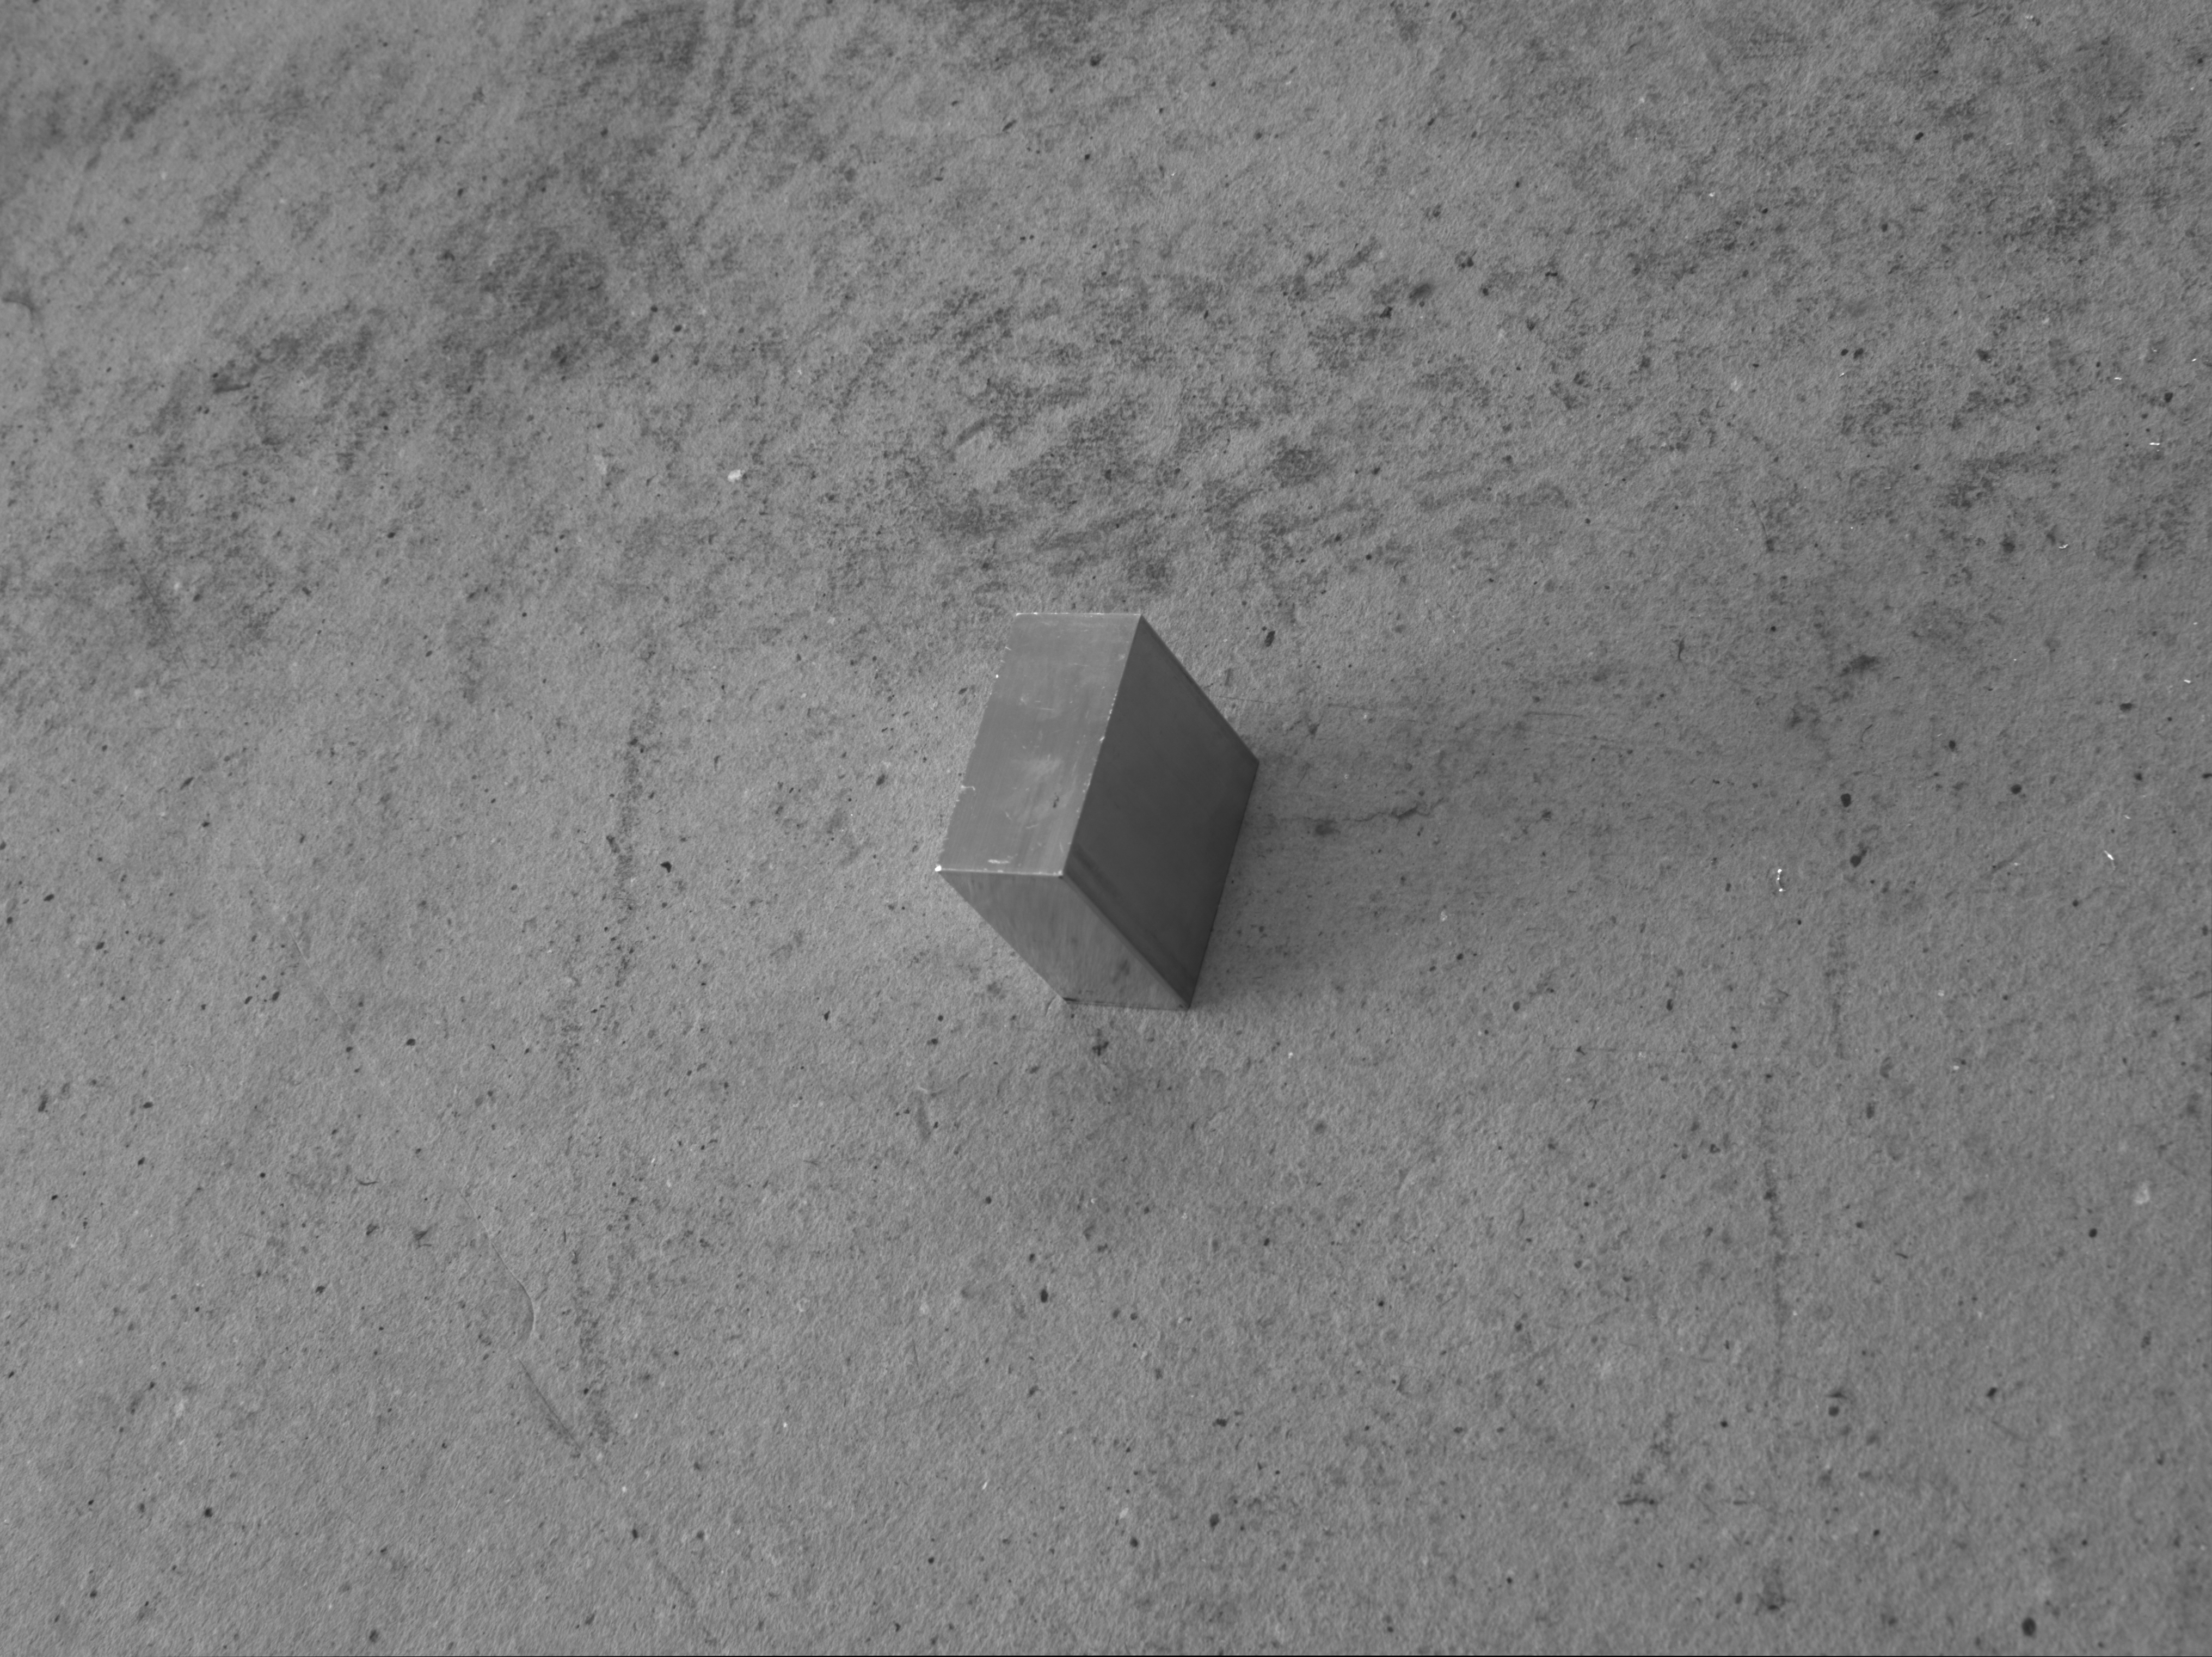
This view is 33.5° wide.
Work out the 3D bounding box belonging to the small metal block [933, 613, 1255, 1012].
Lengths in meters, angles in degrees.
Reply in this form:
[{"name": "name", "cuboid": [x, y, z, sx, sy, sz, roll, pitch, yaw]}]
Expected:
[{"name": "small metal block", "cuboid": [-0.001, -0.003, 0.632, 0.025, 0.050, 0.050, 3, 63, 29]}]
